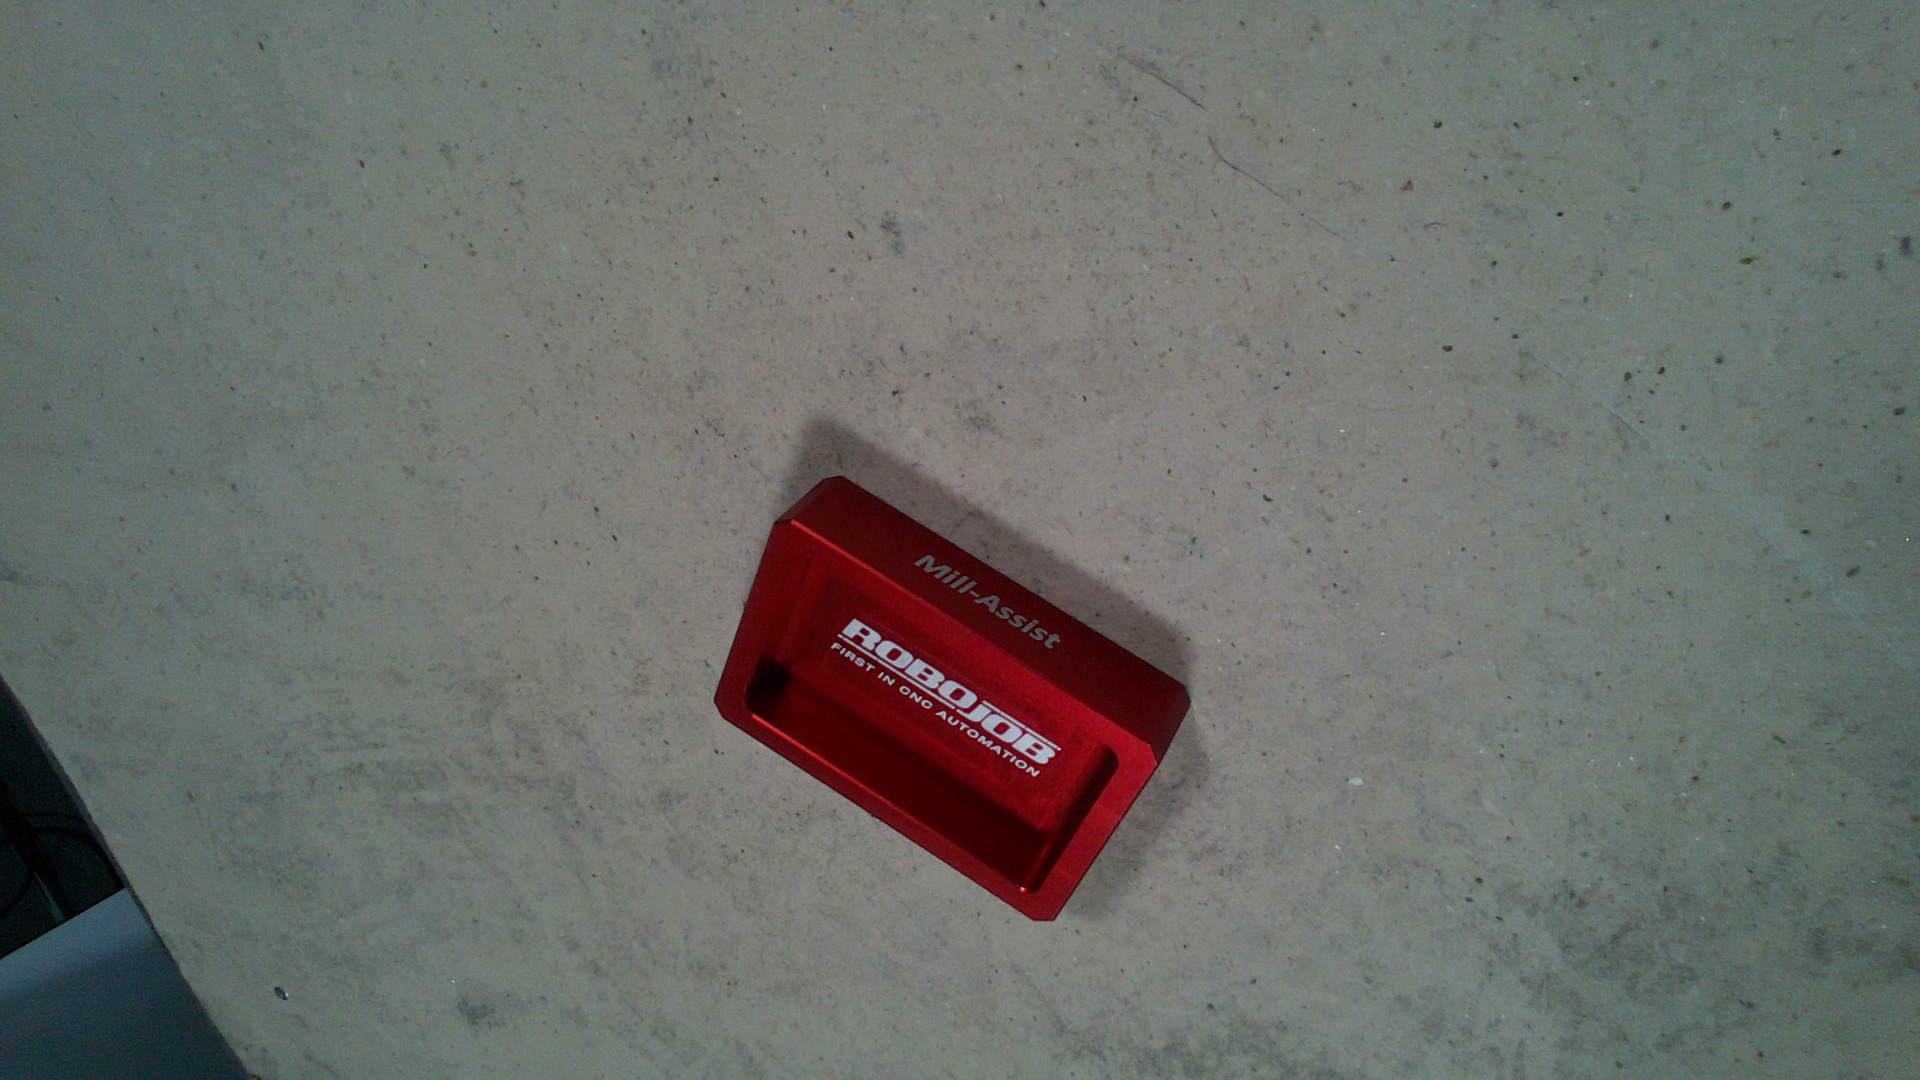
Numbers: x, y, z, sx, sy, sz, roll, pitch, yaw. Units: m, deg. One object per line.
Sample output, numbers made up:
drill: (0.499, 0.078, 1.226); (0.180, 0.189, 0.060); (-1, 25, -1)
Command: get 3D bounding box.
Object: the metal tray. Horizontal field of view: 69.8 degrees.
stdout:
metal tray: (-0.006, 0.050, 0.424); (0.130, 0.030, 0.090); (31, 129, 8)
